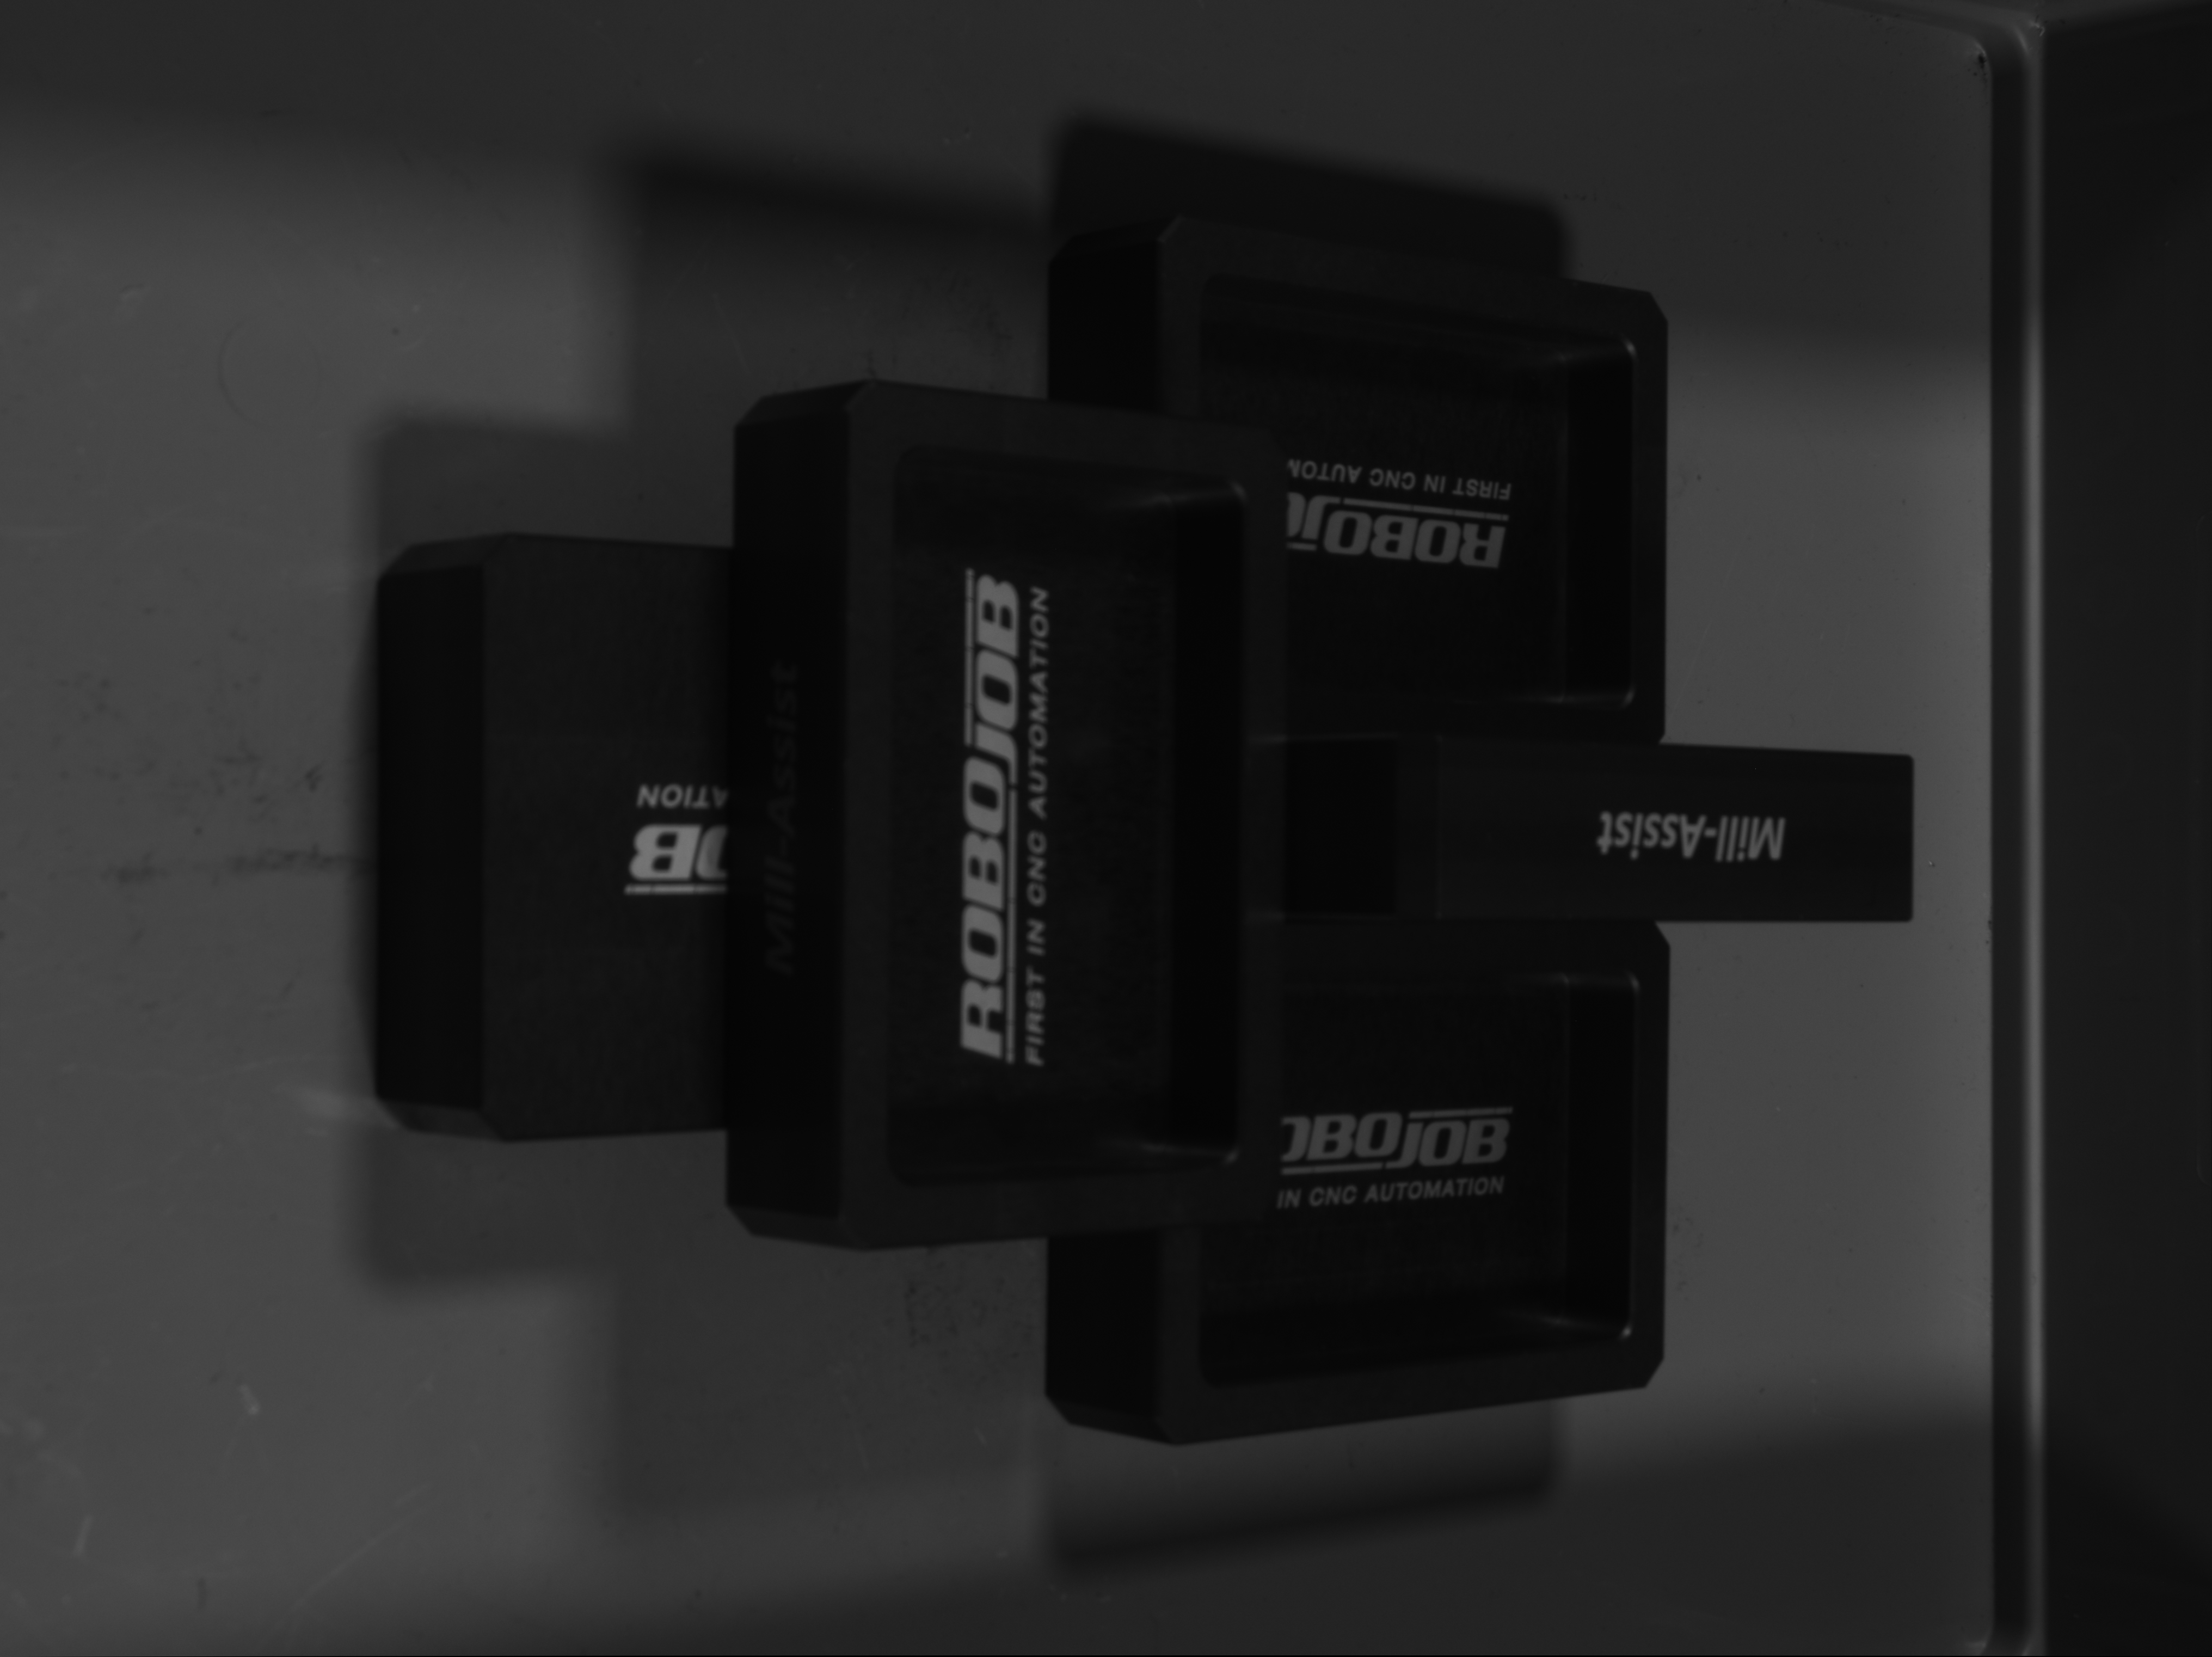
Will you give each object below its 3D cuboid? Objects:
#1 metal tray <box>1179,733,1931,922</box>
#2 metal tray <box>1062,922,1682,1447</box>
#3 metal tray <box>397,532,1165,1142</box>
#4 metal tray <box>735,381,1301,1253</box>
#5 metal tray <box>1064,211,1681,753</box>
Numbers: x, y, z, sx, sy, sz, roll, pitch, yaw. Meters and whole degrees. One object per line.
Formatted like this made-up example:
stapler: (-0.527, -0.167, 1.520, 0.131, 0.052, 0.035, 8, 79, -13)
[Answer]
metal tray: (0.073, 0.001, 0.653, 0.130, 0.090, 0.030, 1, 89, -40)
metal tray: (0.052, 0.062, 0.675, 0.130, 0.030, 0.090, 1, 89, -40)
metal tray: (-0.049, 0.002, 0.590, 0.130, 0.030, 0.090, 1, 90, -40)
metal tray: (-0.013, -0.001, 0.582, 0.090, 0.030, 0.130, 2, 89, -40)
metal tray: (0.051, -0.060, 0.676, 0.130, 0.030, 0.090, 1, 89, -40)
